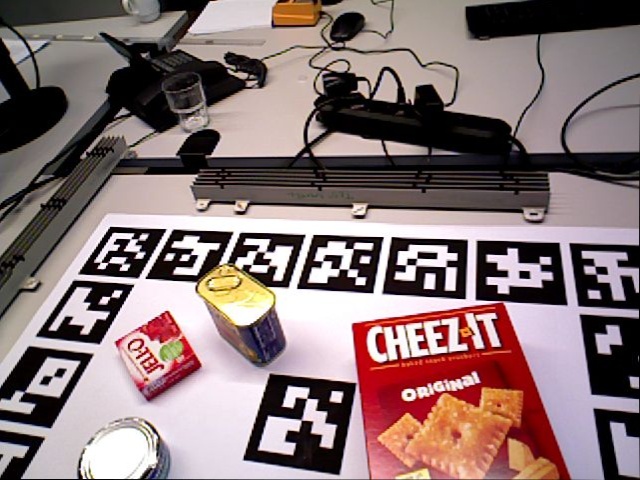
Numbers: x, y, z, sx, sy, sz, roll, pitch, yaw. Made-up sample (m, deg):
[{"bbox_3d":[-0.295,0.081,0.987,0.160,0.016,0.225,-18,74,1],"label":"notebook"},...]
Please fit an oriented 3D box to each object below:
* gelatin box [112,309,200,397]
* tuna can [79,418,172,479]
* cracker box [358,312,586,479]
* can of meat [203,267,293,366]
[{"bbox_3d":[-0.199,0.134,0.658,0.072,0.031,0.089,-29,48,-23],"label":"gelatin box"},{"bbox_3d":[-0.194,0.227,0.548,0.086,0.034,0.084,-7,45,7],"label":"tuna can"},{"bbox_3d":[0.132,0.174,0.517,0.164,0.073,0.210,-8,40,1],"label":"cracker box"},{"bbox_3d":[-0.083,0.092,0.648,0.102,0.085,0.056,26,53,35],"label":"can of meat"}]
